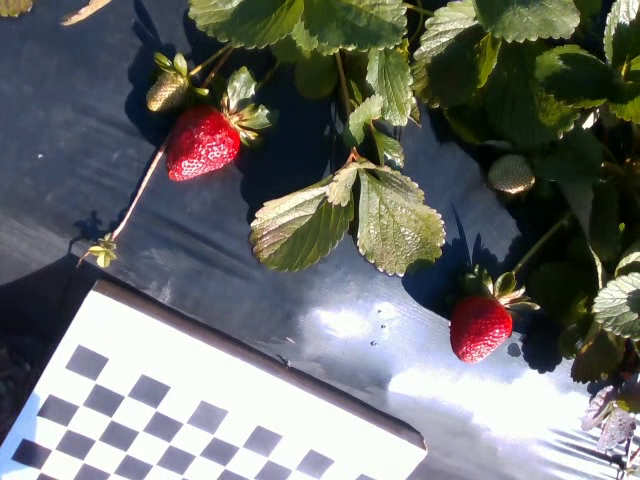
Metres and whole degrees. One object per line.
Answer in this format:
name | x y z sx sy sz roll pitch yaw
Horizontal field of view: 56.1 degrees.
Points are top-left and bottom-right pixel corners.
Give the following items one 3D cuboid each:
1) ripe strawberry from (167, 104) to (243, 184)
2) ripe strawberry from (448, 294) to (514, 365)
ripe strawberry | -0.068 -0.051 0.329 0.041 0.053 0.043 40 -26 -22
ripe strawberry | 0.099 0.060 0.380 0.043 0.043 0.050 4 39 43
